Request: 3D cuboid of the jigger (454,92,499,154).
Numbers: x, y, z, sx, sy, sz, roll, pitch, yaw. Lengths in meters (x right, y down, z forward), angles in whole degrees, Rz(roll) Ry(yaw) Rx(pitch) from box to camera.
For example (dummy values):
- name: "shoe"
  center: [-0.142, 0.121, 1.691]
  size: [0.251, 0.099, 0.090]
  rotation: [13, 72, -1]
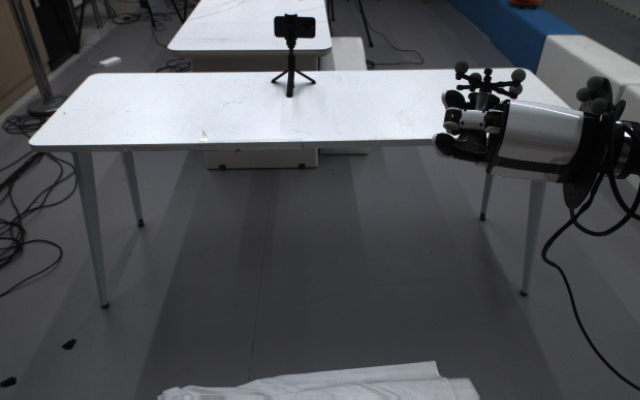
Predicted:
- name: "jigger"
  center: [0.204, -0.099, 0.622]
  size: [0.043, 0.071, 0.043]
  rotation: [16, -7, 2]
